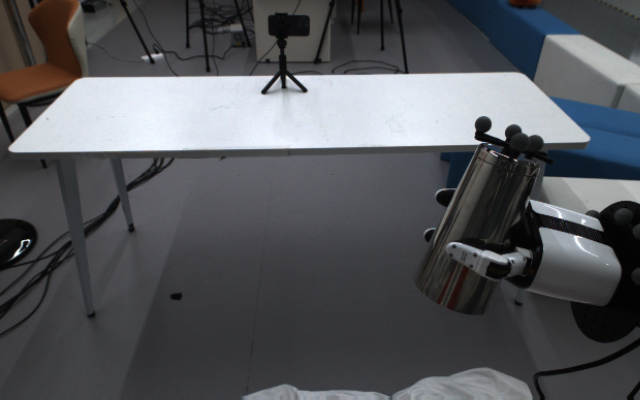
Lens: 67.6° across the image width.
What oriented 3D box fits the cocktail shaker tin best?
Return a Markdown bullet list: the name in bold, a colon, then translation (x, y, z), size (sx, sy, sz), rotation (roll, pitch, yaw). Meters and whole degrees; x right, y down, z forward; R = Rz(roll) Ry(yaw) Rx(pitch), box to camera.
- **cocktail shaker tin**: translation (0.178, 0.028, 0.535), size (0.093, 0.170, 0.093), rotation (14, 19, -5)
